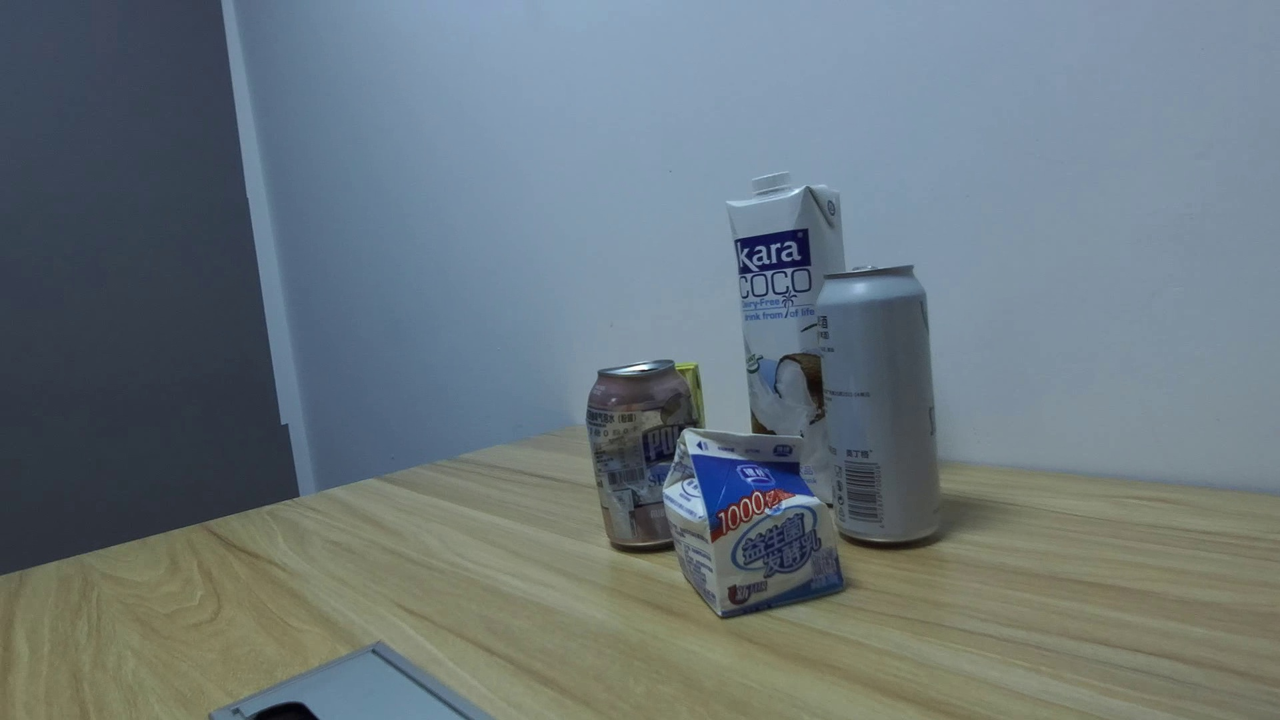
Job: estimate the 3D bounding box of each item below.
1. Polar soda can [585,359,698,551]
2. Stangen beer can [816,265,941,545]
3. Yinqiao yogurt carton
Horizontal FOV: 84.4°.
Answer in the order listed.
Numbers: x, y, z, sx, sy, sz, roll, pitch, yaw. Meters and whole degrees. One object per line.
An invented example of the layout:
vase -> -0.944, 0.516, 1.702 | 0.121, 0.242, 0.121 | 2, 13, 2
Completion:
Polar soda can -> 0.008, 0.066, 0.486 | 0.074, 0.121, 0.067 | -7, 3, 27
Stangen beer can -> 0.151, 0.028, 0.447 | 0.067, 0.171, 0.067 | -6, 4, 1
Yinqiao yogurt carton -> 0.059, 0.079, 0.396 | 0.083, 0.093, 0.077 | -7, 7, -14
